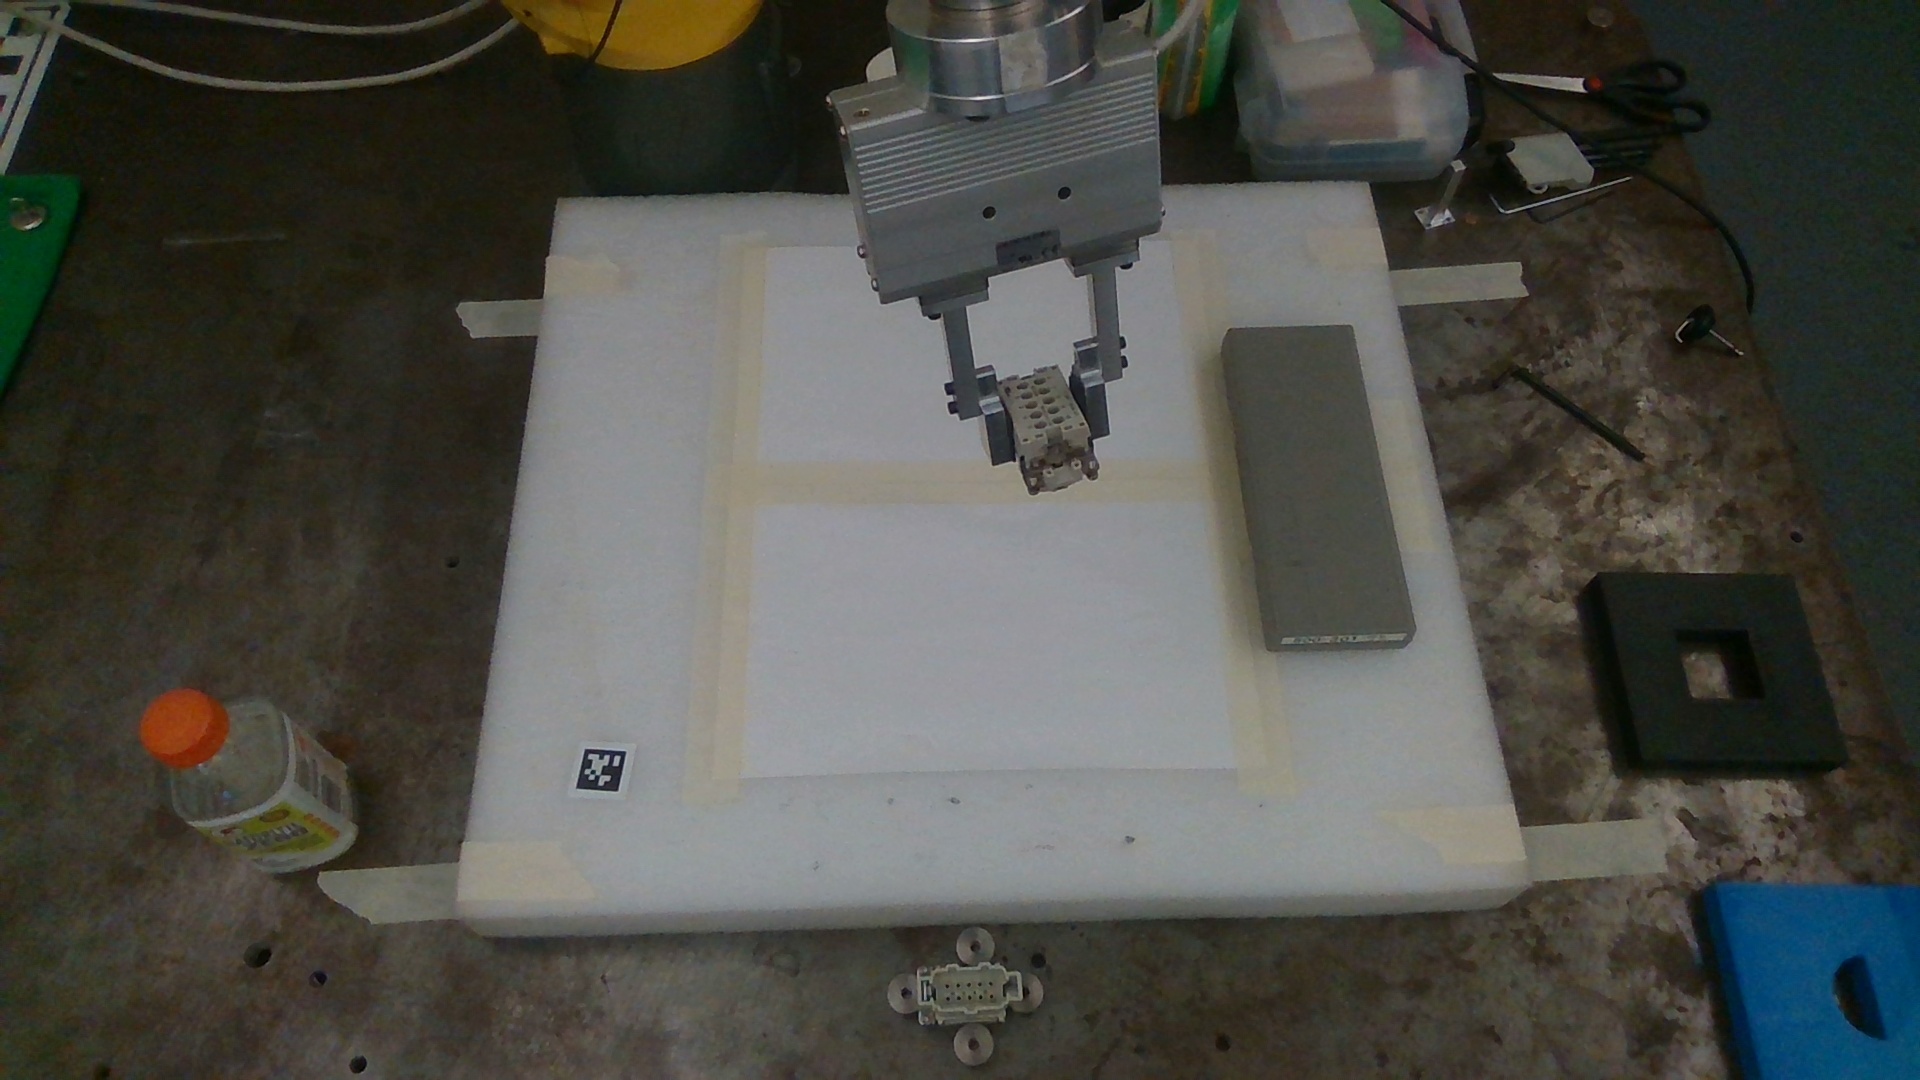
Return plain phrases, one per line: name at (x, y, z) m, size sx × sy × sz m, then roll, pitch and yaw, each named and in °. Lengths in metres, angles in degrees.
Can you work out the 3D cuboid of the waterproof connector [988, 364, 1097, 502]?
waterproof connector at (0.038, -0.050, 0.644) m, size 0.036 × 0.038 × 0.069 m, roll -12°, pitch 52°, yaw -7°
